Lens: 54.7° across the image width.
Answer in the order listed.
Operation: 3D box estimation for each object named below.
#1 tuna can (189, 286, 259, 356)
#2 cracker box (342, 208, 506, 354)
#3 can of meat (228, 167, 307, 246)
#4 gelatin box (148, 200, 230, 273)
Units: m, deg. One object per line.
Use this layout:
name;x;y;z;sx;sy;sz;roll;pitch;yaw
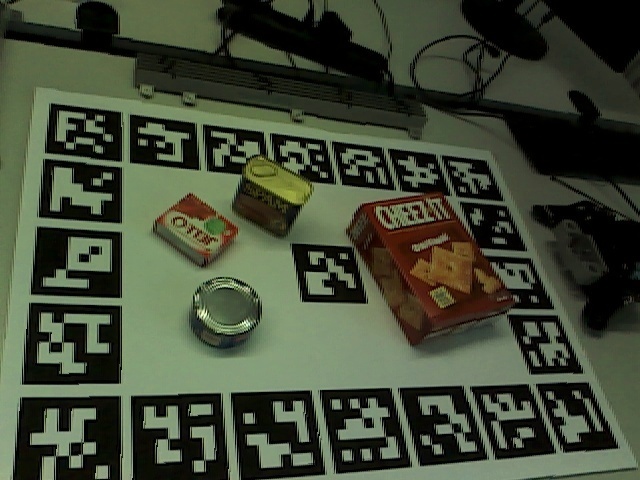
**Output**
tuna can;-0.124;0.104;0.794;0.085;0.034;0.086;12;51;-15
cracker box;0.160;0.054;0.956;0.163;0.072;0.215;-10;55;-33
can of meat;-0.082;-0.048;0.926;0.102;0.084;0.058;26;45;0
gelatin box;-0.183;-0.007;0.870;0.089;0.030;0.073;37;43;5
